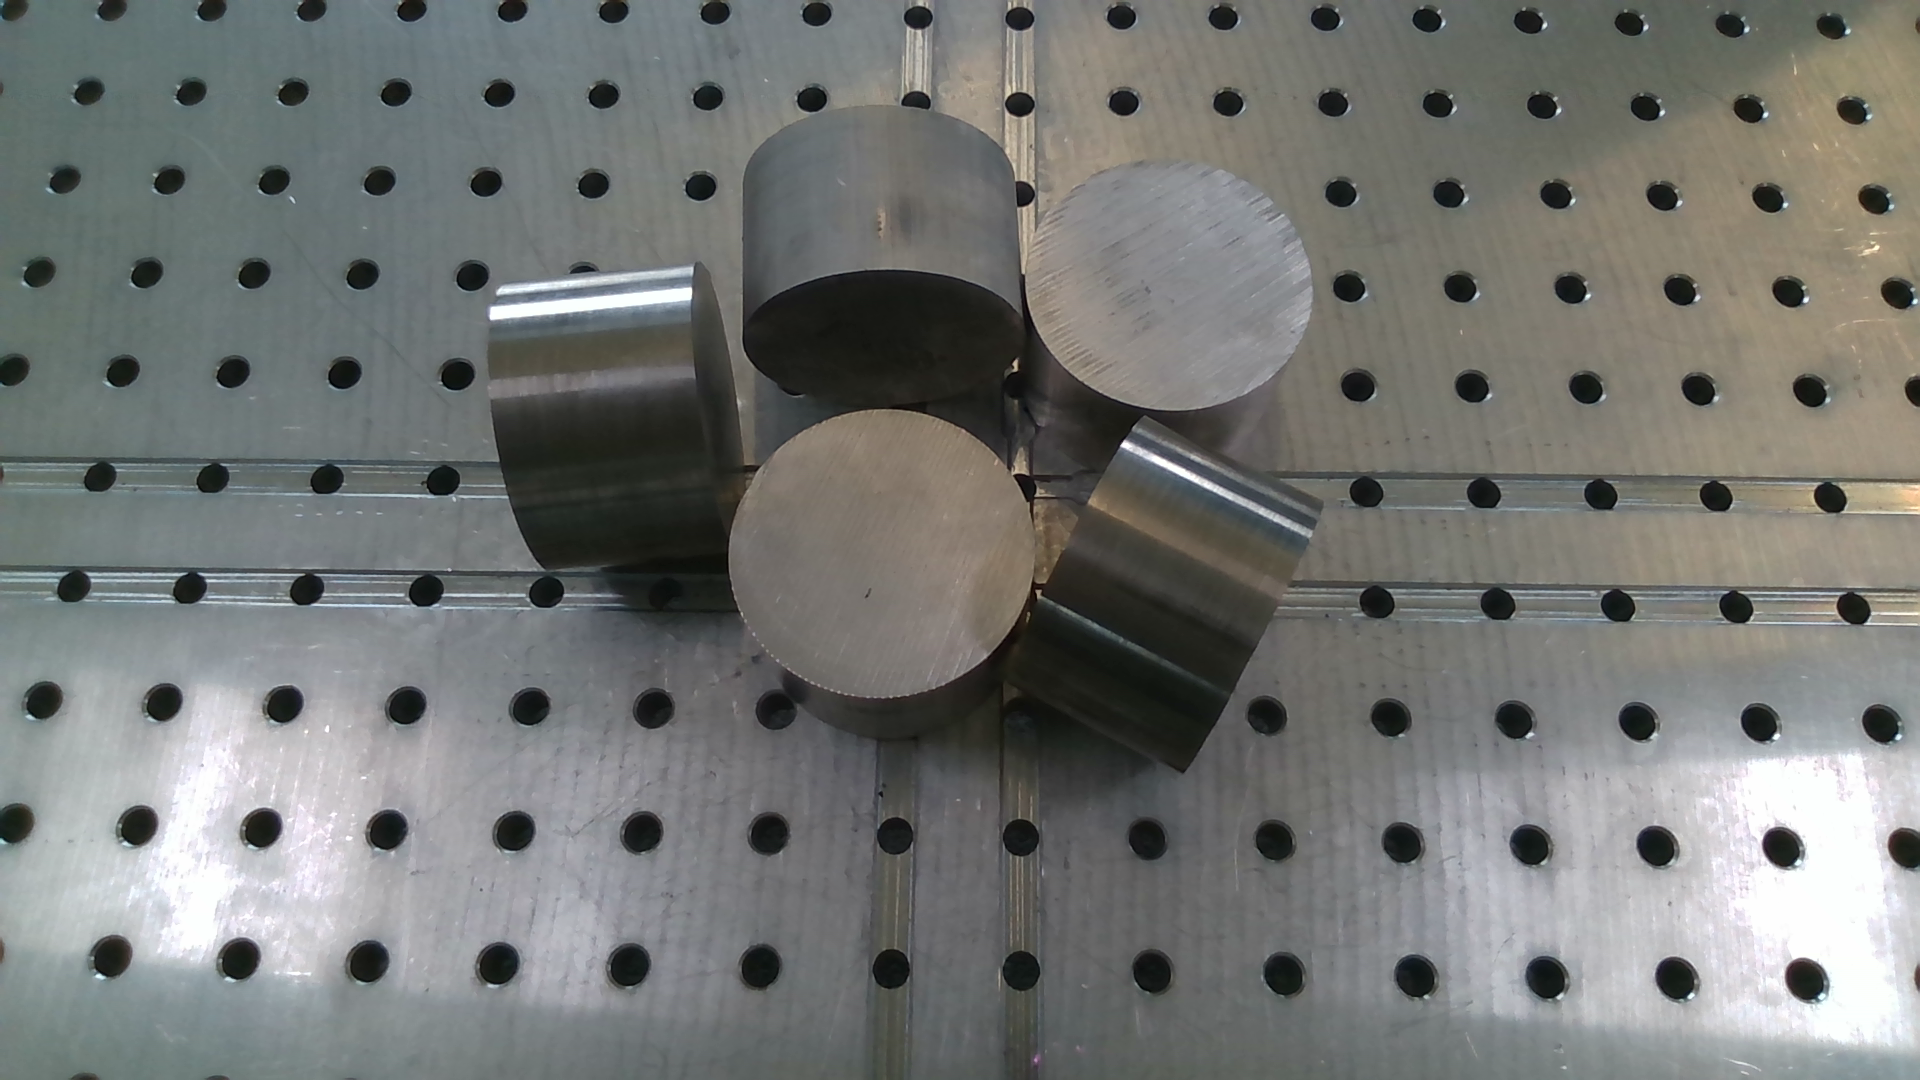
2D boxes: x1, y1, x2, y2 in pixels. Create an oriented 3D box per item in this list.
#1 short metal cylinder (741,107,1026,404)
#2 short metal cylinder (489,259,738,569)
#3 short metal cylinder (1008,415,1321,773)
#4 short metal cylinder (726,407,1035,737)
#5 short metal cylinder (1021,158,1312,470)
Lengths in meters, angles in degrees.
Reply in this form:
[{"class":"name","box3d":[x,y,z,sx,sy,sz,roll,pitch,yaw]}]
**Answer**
[{"class":"short metal cylinder","box3d":[-0.022,-0.079,0.397,0.080,0.080,0.050,-2,71,-1]},{"class":"short metal cylinder","box3d":[-0.092,-0.034,0.380,0.050,0.080,0.080,-6,70,-2]},{"class":"short metal cylinder","box3d":[0.054,0.014,0.364,0.050,0.080,0.080,27,73,9]},{"class":"short metal cylinder","box3d":[-0.020,0.010,0.381,0.080,0.050,0.080,0,71,0]},{"class":"short metal cylinder","box3d":[0.058,-0.064,0.407,0.080,0.050,0.080,0,69,0]}]
